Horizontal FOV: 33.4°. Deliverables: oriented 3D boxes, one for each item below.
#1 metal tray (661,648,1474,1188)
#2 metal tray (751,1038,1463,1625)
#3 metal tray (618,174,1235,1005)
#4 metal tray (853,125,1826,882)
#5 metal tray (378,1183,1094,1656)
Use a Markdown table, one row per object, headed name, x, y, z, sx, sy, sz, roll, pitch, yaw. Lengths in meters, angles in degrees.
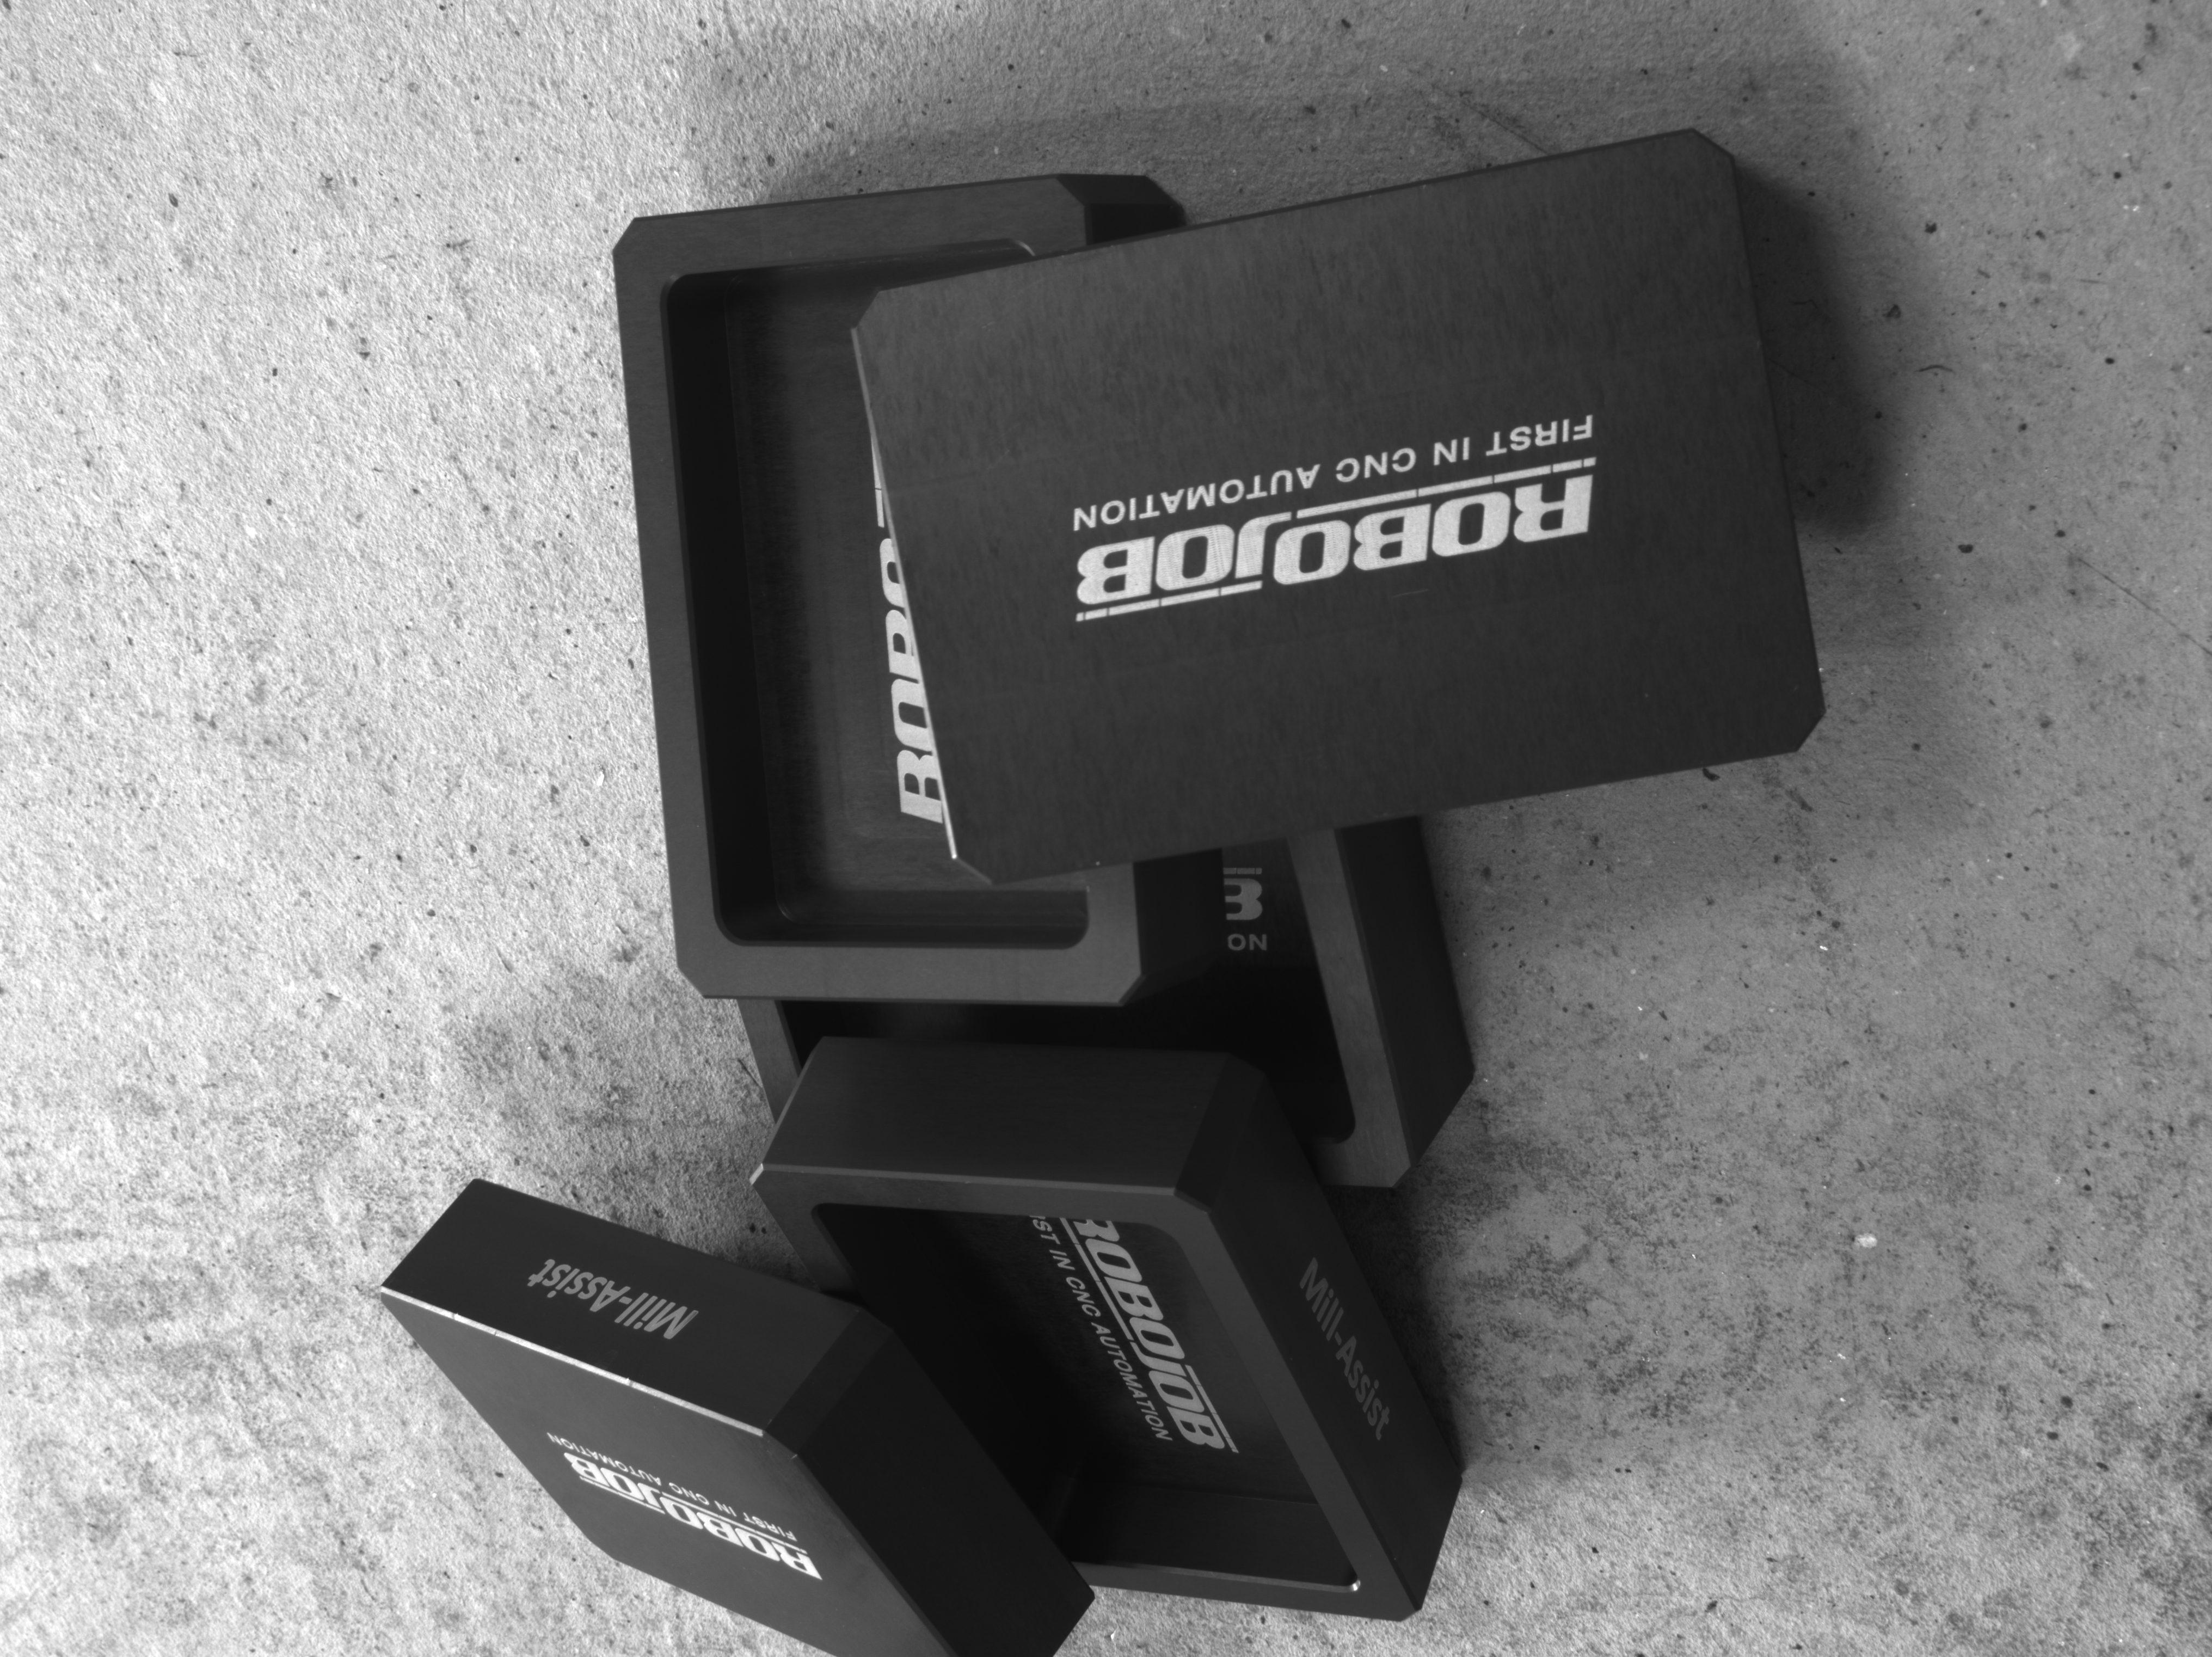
| name | x | y | z | sx | sy | sz | roll | pitch | yaw |
| --- | --- | --- | --- | --- | --- | --- | --- | --- | --- |
| metal tray | -0.007 | 0.016 | 0.653 | 0.130 | 0.030 | 0.090 | 0 | 118 | 28 |
| metal tray | 0.003 | 0.092 | 0.668 | 0.090 | 0.030 | 0.130 | 1 | 138 | 28 |
| metal tray | -0.030 | -0.038 | 0.606 | 0.090 | 0.030 | 0.130 | -1 | 98 | 28 |
| metal tray | 0.035 | -0.048 | 0.550 | 0.130 | 0.030 | 0.090 | -9 | 96 | 10 |
| metal tray | -0.073 | 0.119 | 0.714 | 0.130 | 0.030 | 0.090 | 9 | 141 | 45 |
